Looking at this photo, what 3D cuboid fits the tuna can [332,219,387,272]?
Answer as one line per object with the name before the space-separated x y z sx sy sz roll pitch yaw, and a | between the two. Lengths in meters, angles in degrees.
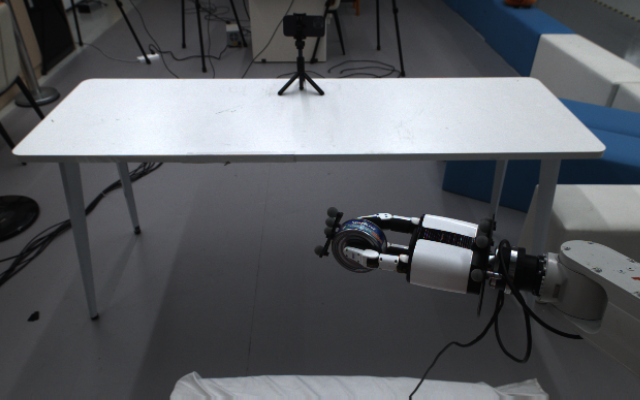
tuna can | 0.065 0.073 0.774 0.085 0.085 0.034 12 30 14
